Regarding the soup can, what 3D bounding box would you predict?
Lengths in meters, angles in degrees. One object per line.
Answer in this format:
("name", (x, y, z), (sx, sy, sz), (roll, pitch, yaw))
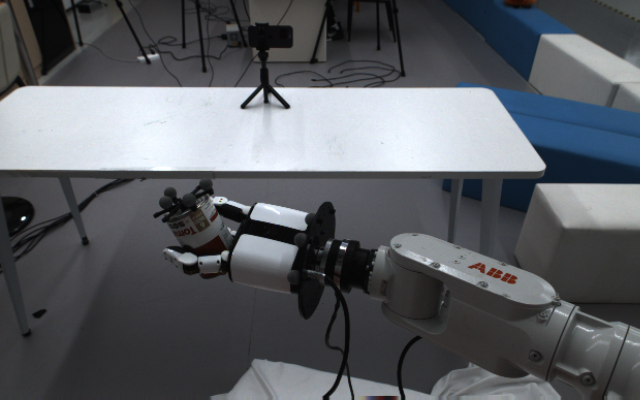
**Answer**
("soup can", (-0.160, 0.051, 0.675), (0.067, 0.101, 0.067), (-22, 24, 10))
